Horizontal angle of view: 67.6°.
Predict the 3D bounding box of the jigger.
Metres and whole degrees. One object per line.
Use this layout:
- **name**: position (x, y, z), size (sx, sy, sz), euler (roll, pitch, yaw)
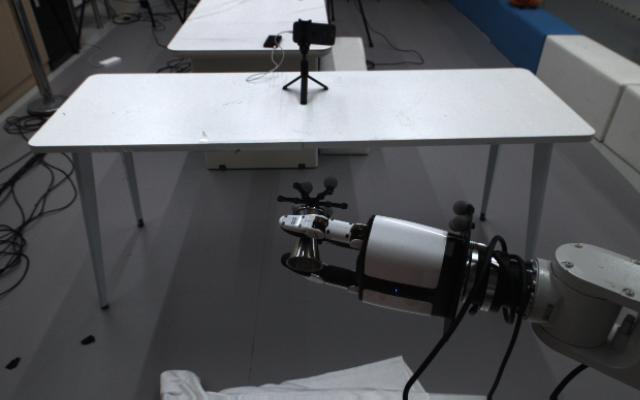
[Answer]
- **jigger**: position (-0.017, 0.046, 0.587), size (0.043, 0.043, 0.071), euler (5, 60, 5)
